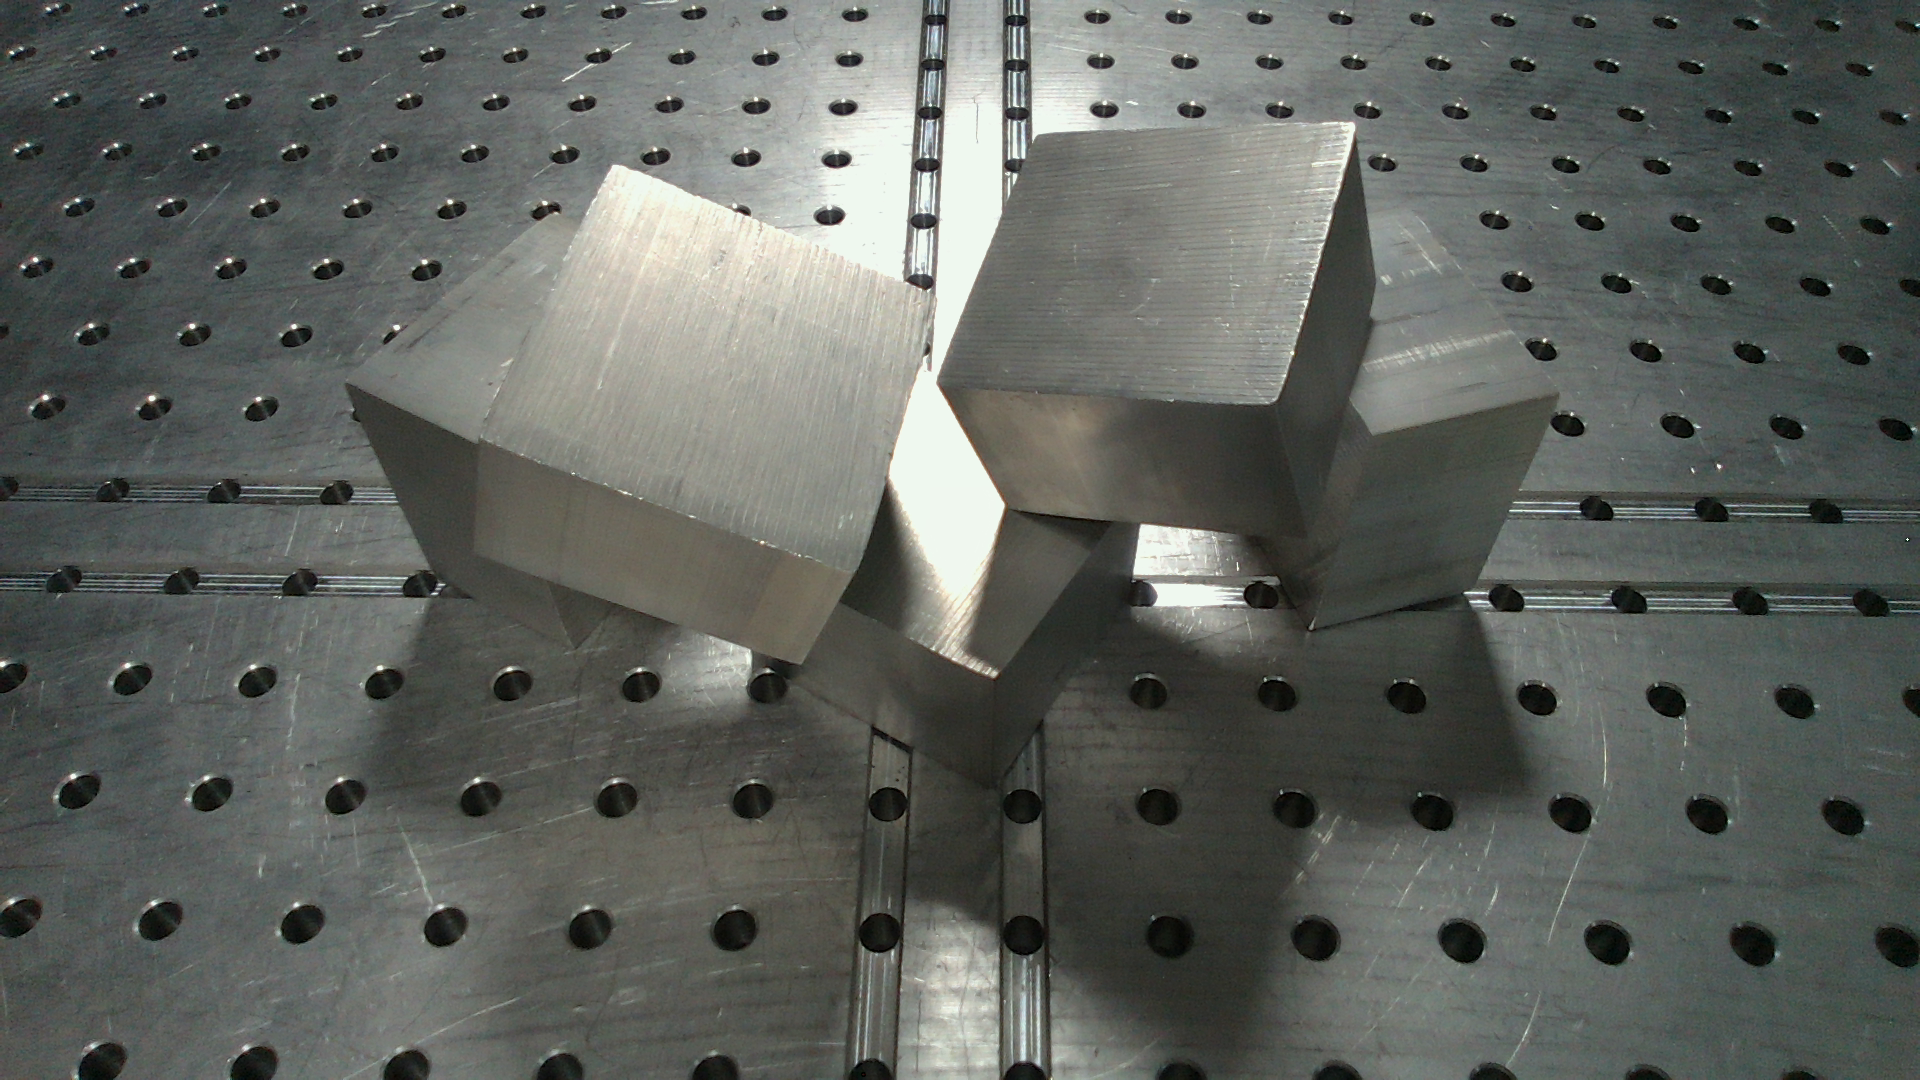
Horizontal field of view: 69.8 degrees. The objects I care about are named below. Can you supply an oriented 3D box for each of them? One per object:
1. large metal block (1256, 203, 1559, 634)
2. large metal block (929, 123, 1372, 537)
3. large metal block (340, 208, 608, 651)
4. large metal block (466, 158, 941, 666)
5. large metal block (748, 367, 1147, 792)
[{"bbox_3d":[0.112,-0.034,0.387,0.050,0.080,0.080,-13,51,-10],"label":"large metal block"},{"bbox_3d":[0.049,-0.052,0.331,0.080,0.050,0.080,7,62,26],"label":"large metal block"},{"bbox_3d":[-0.111,-0.031,0.384,0.050,0.080,0.080,24,54,19],"label":"large metal block"},{"bbox_3d":[-0.058,-0.028,0.316,0.080,0.050,0.080,20,57,-10],"label":"large metal block"},{"bbox_3d":[-0.004,0.007,0.372,0.080,0.050,0.080,26,55,20],"label":"large metal block"}]
